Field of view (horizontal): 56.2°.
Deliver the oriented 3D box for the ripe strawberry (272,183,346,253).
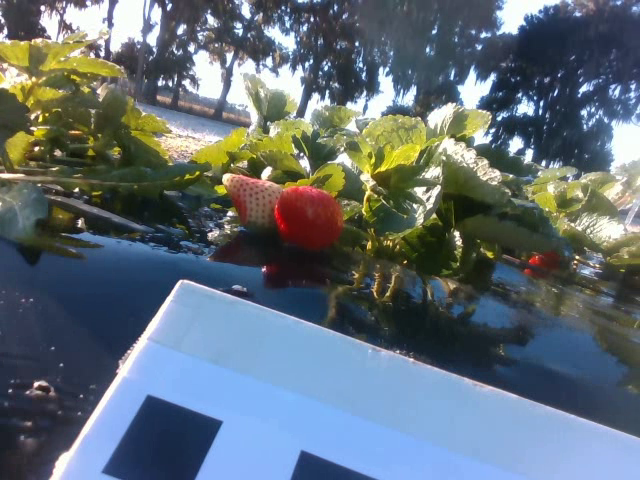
[{"bbox_3d":[-0.008,-0.019,0.299,0.040,0.038,0.056,-13,-40,14],"label":"ripe strawberry"}]
